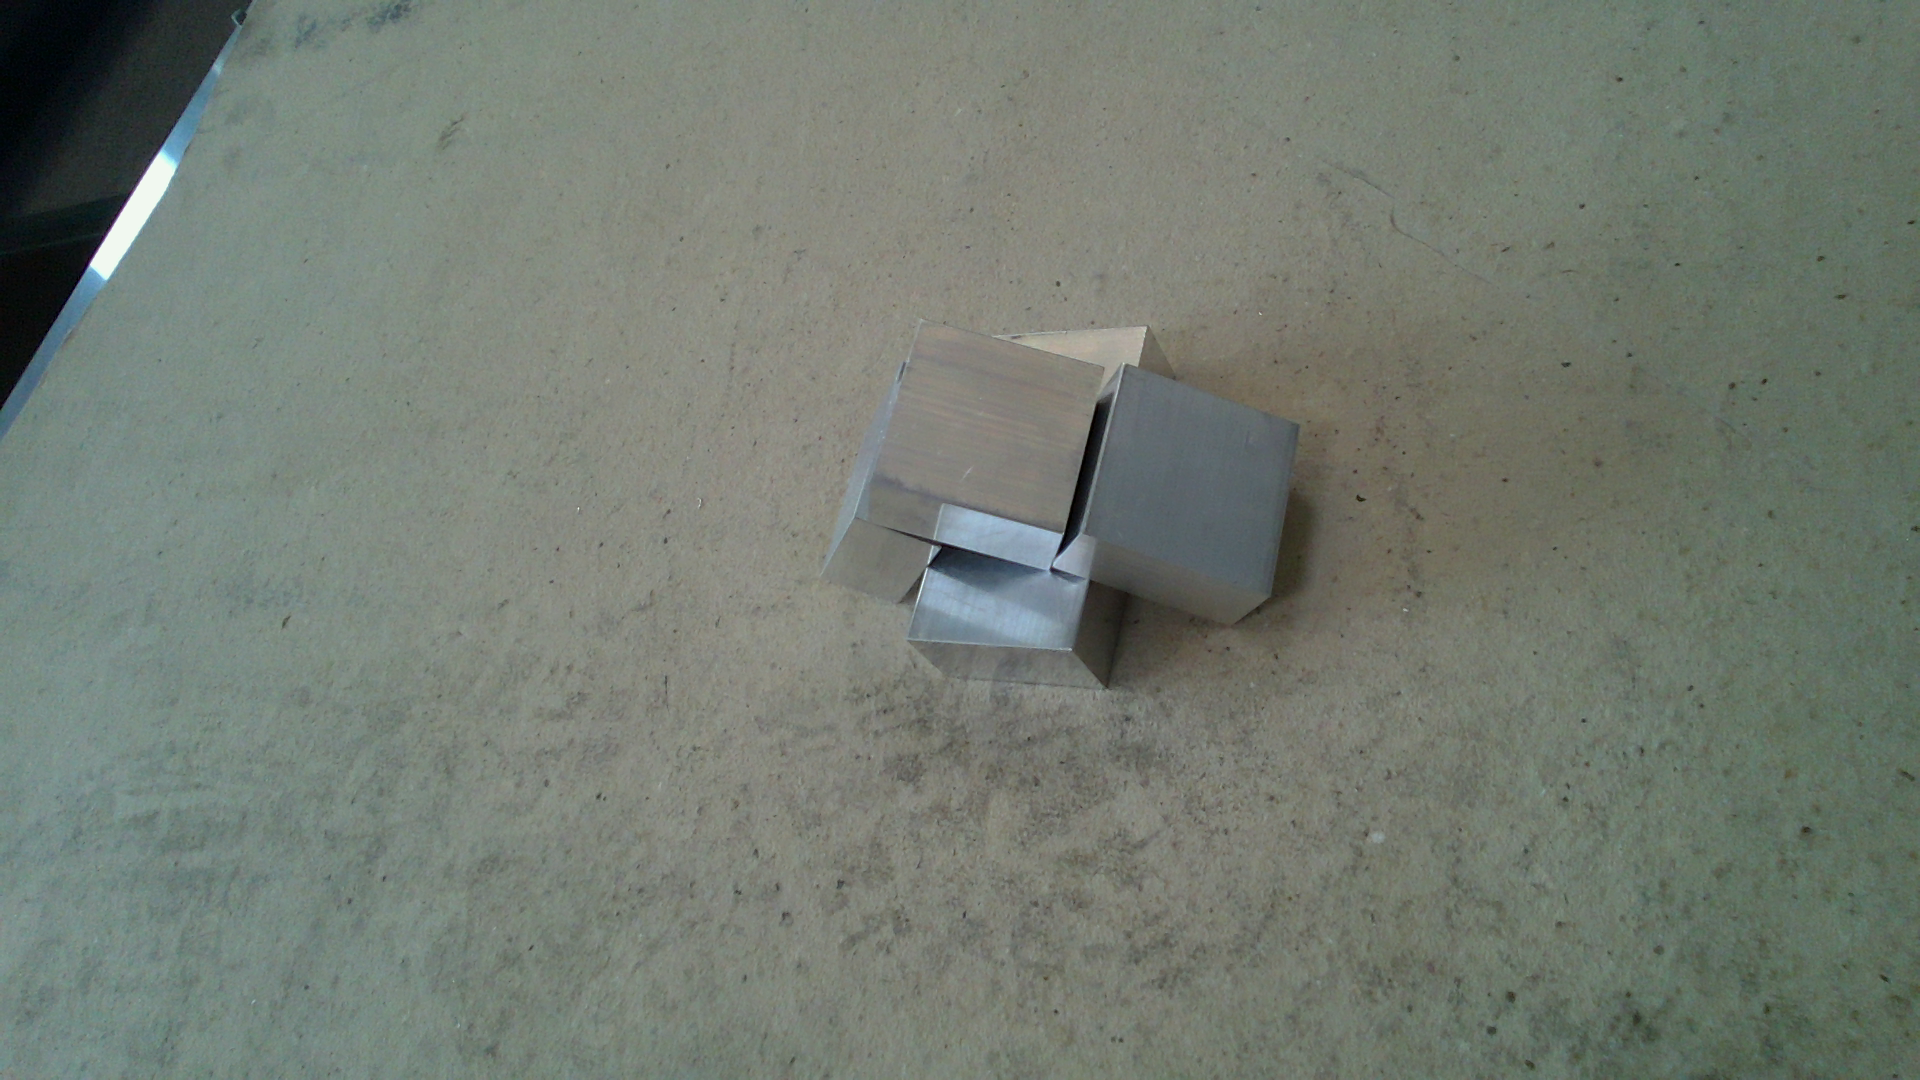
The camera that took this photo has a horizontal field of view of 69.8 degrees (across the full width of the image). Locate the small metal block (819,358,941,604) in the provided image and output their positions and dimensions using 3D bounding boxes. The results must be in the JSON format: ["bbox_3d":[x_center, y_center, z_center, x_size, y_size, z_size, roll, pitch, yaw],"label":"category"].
[{"bbox_3d":[-0.017,-0.016,0.395,0.025,0.050,0.050,19,66,-9],"label":"small metal block"}]

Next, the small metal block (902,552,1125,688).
[{"bbox_3d":[0.017,0.011,0.378,0.050,0.025,0.050,1,62,29],"label":"small metal block"}]

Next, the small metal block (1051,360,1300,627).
[{"bbox_3d":[0.056,-0.012,0.355,0.050,0.025,0.050,19,66,-7],"label":"small metal block"}]

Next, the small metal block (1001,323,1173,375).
[{"bbox_3d":[0.030,-0.033,0.398,0.050,0.025,0.050,1,62,29],"label":"small metal block"}]

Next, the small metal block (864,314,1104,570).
[{"bbox_3d":[0.006,-0.025,0.359,0.050,0.025,0.050,15,66,1],"label":"small metal block"}]
